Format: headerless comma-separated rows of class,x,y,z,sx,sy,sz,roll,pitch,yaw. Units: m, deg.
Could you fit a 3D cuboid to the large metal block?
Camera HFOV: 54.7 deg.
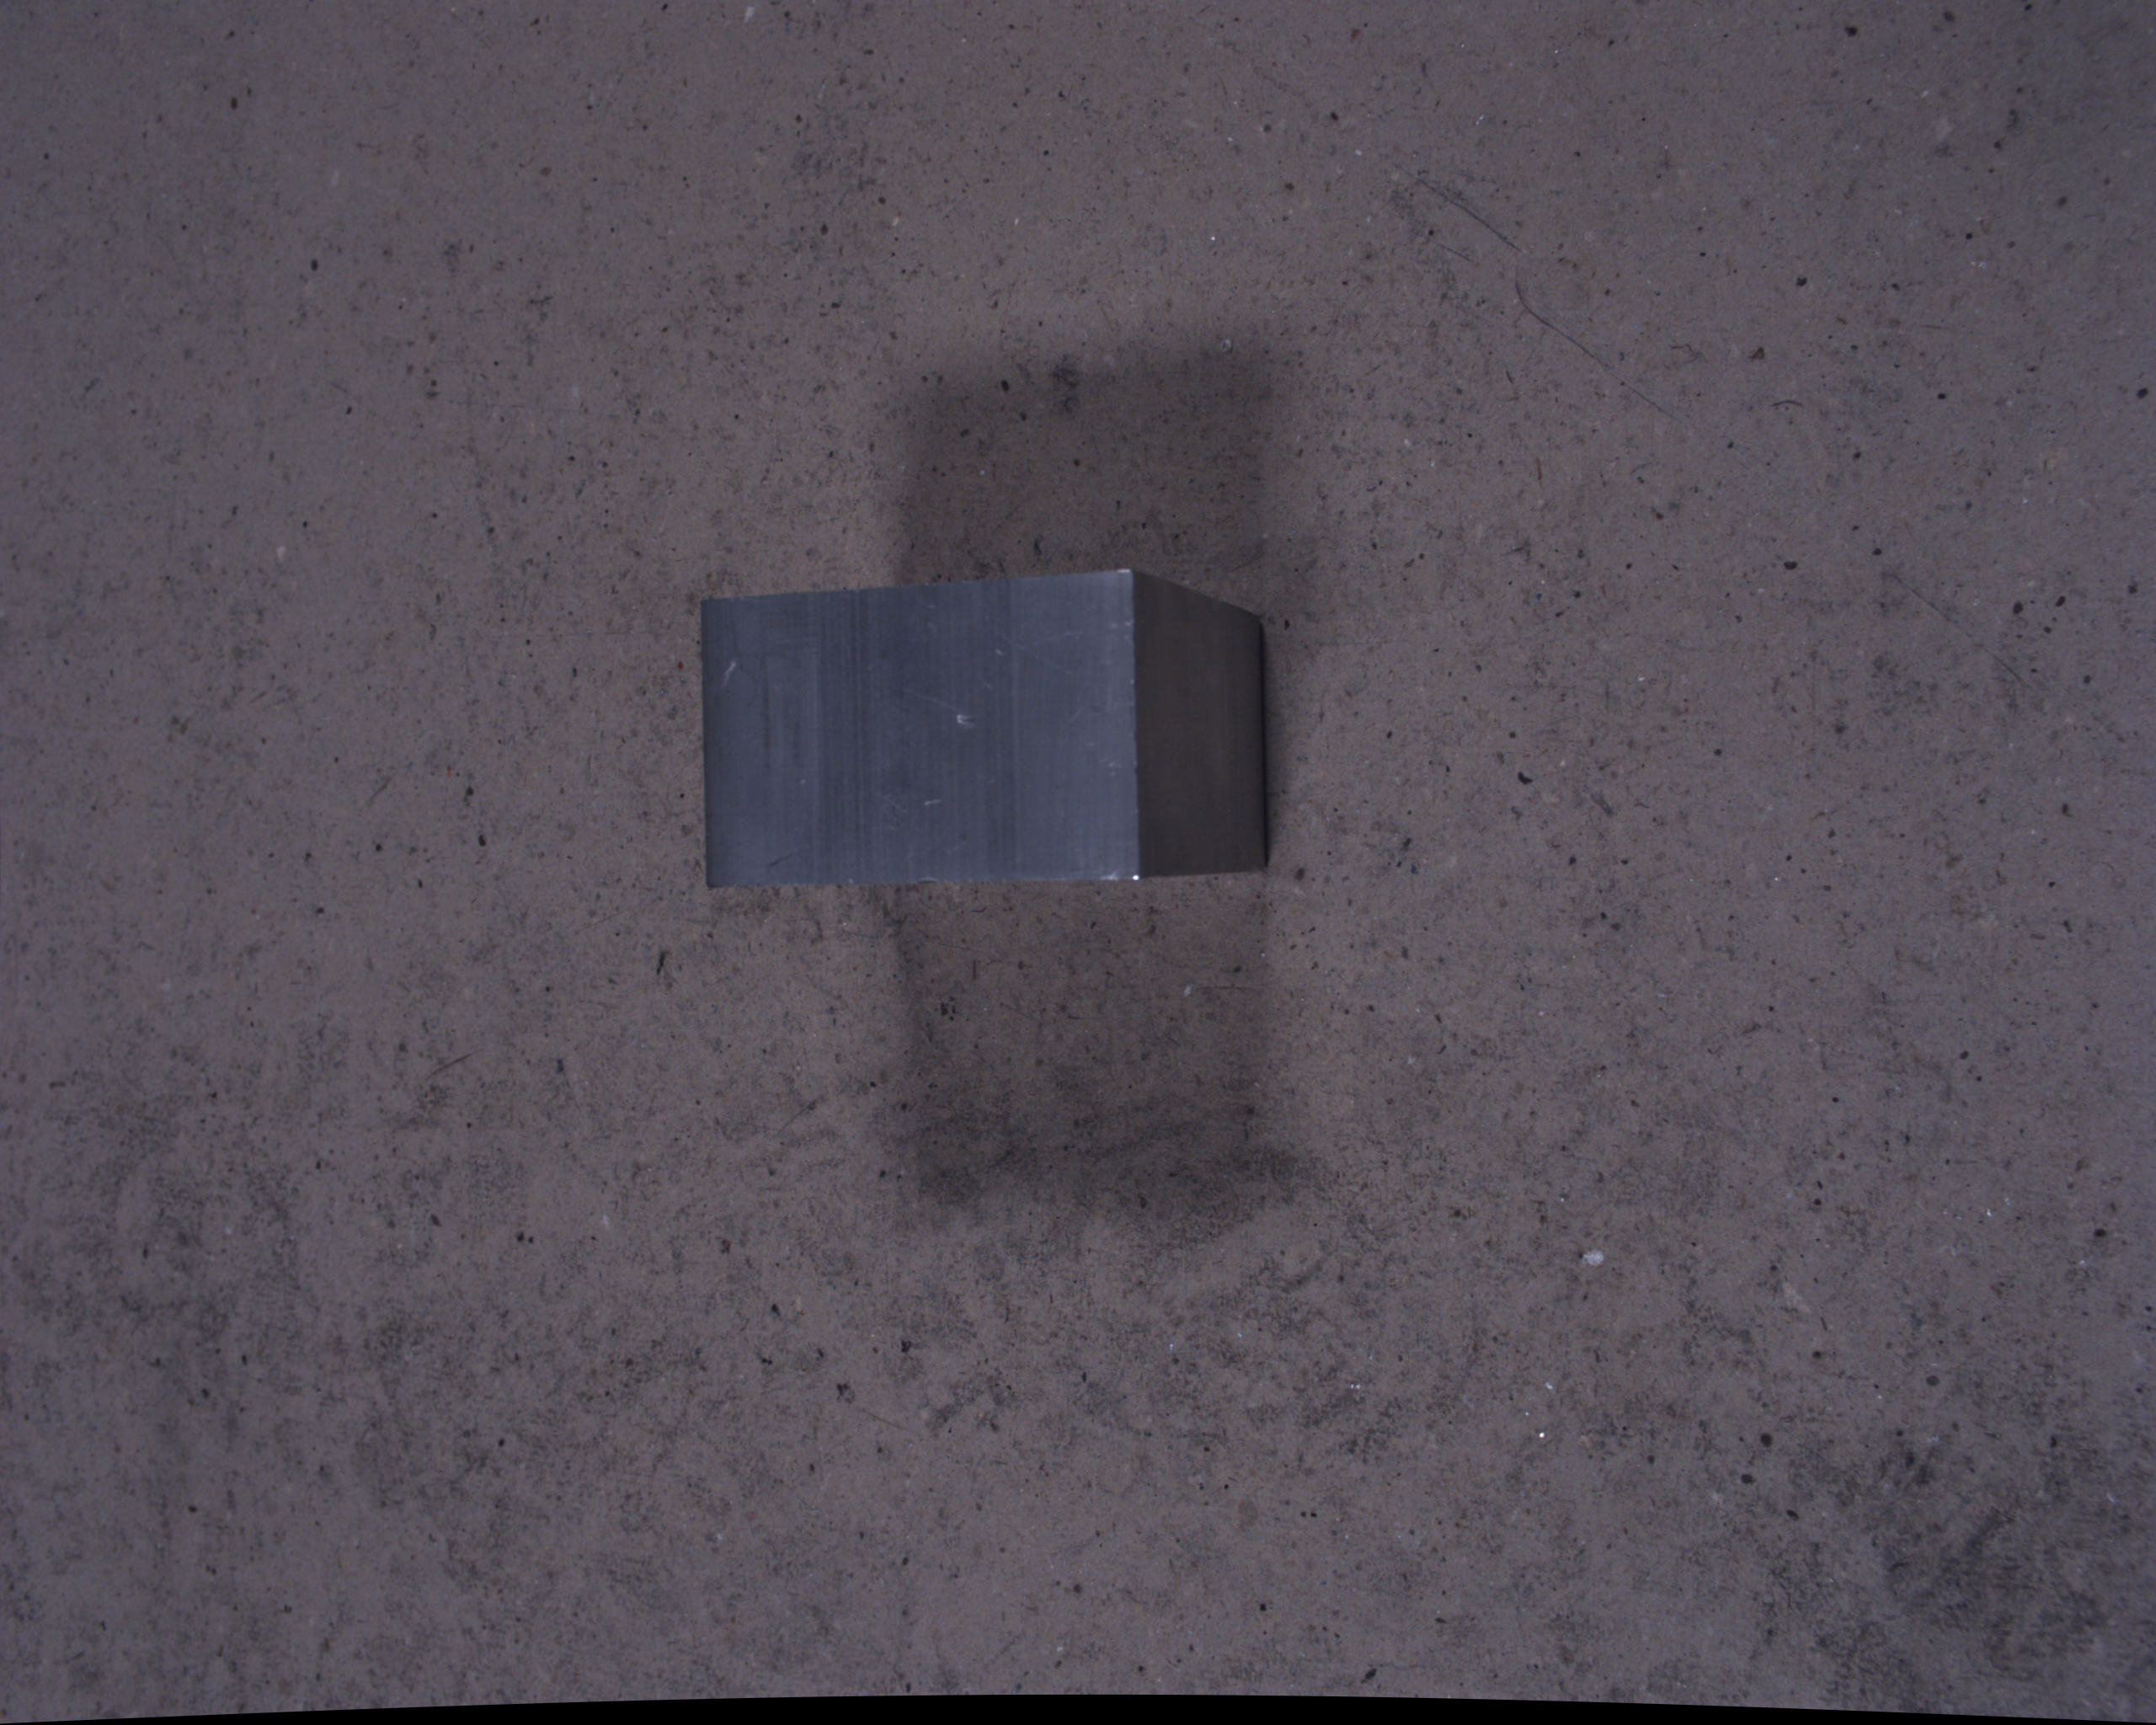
large metal block,-0.014,-0.022,0.385,0.080,0.080,0.050,-1,90,19
